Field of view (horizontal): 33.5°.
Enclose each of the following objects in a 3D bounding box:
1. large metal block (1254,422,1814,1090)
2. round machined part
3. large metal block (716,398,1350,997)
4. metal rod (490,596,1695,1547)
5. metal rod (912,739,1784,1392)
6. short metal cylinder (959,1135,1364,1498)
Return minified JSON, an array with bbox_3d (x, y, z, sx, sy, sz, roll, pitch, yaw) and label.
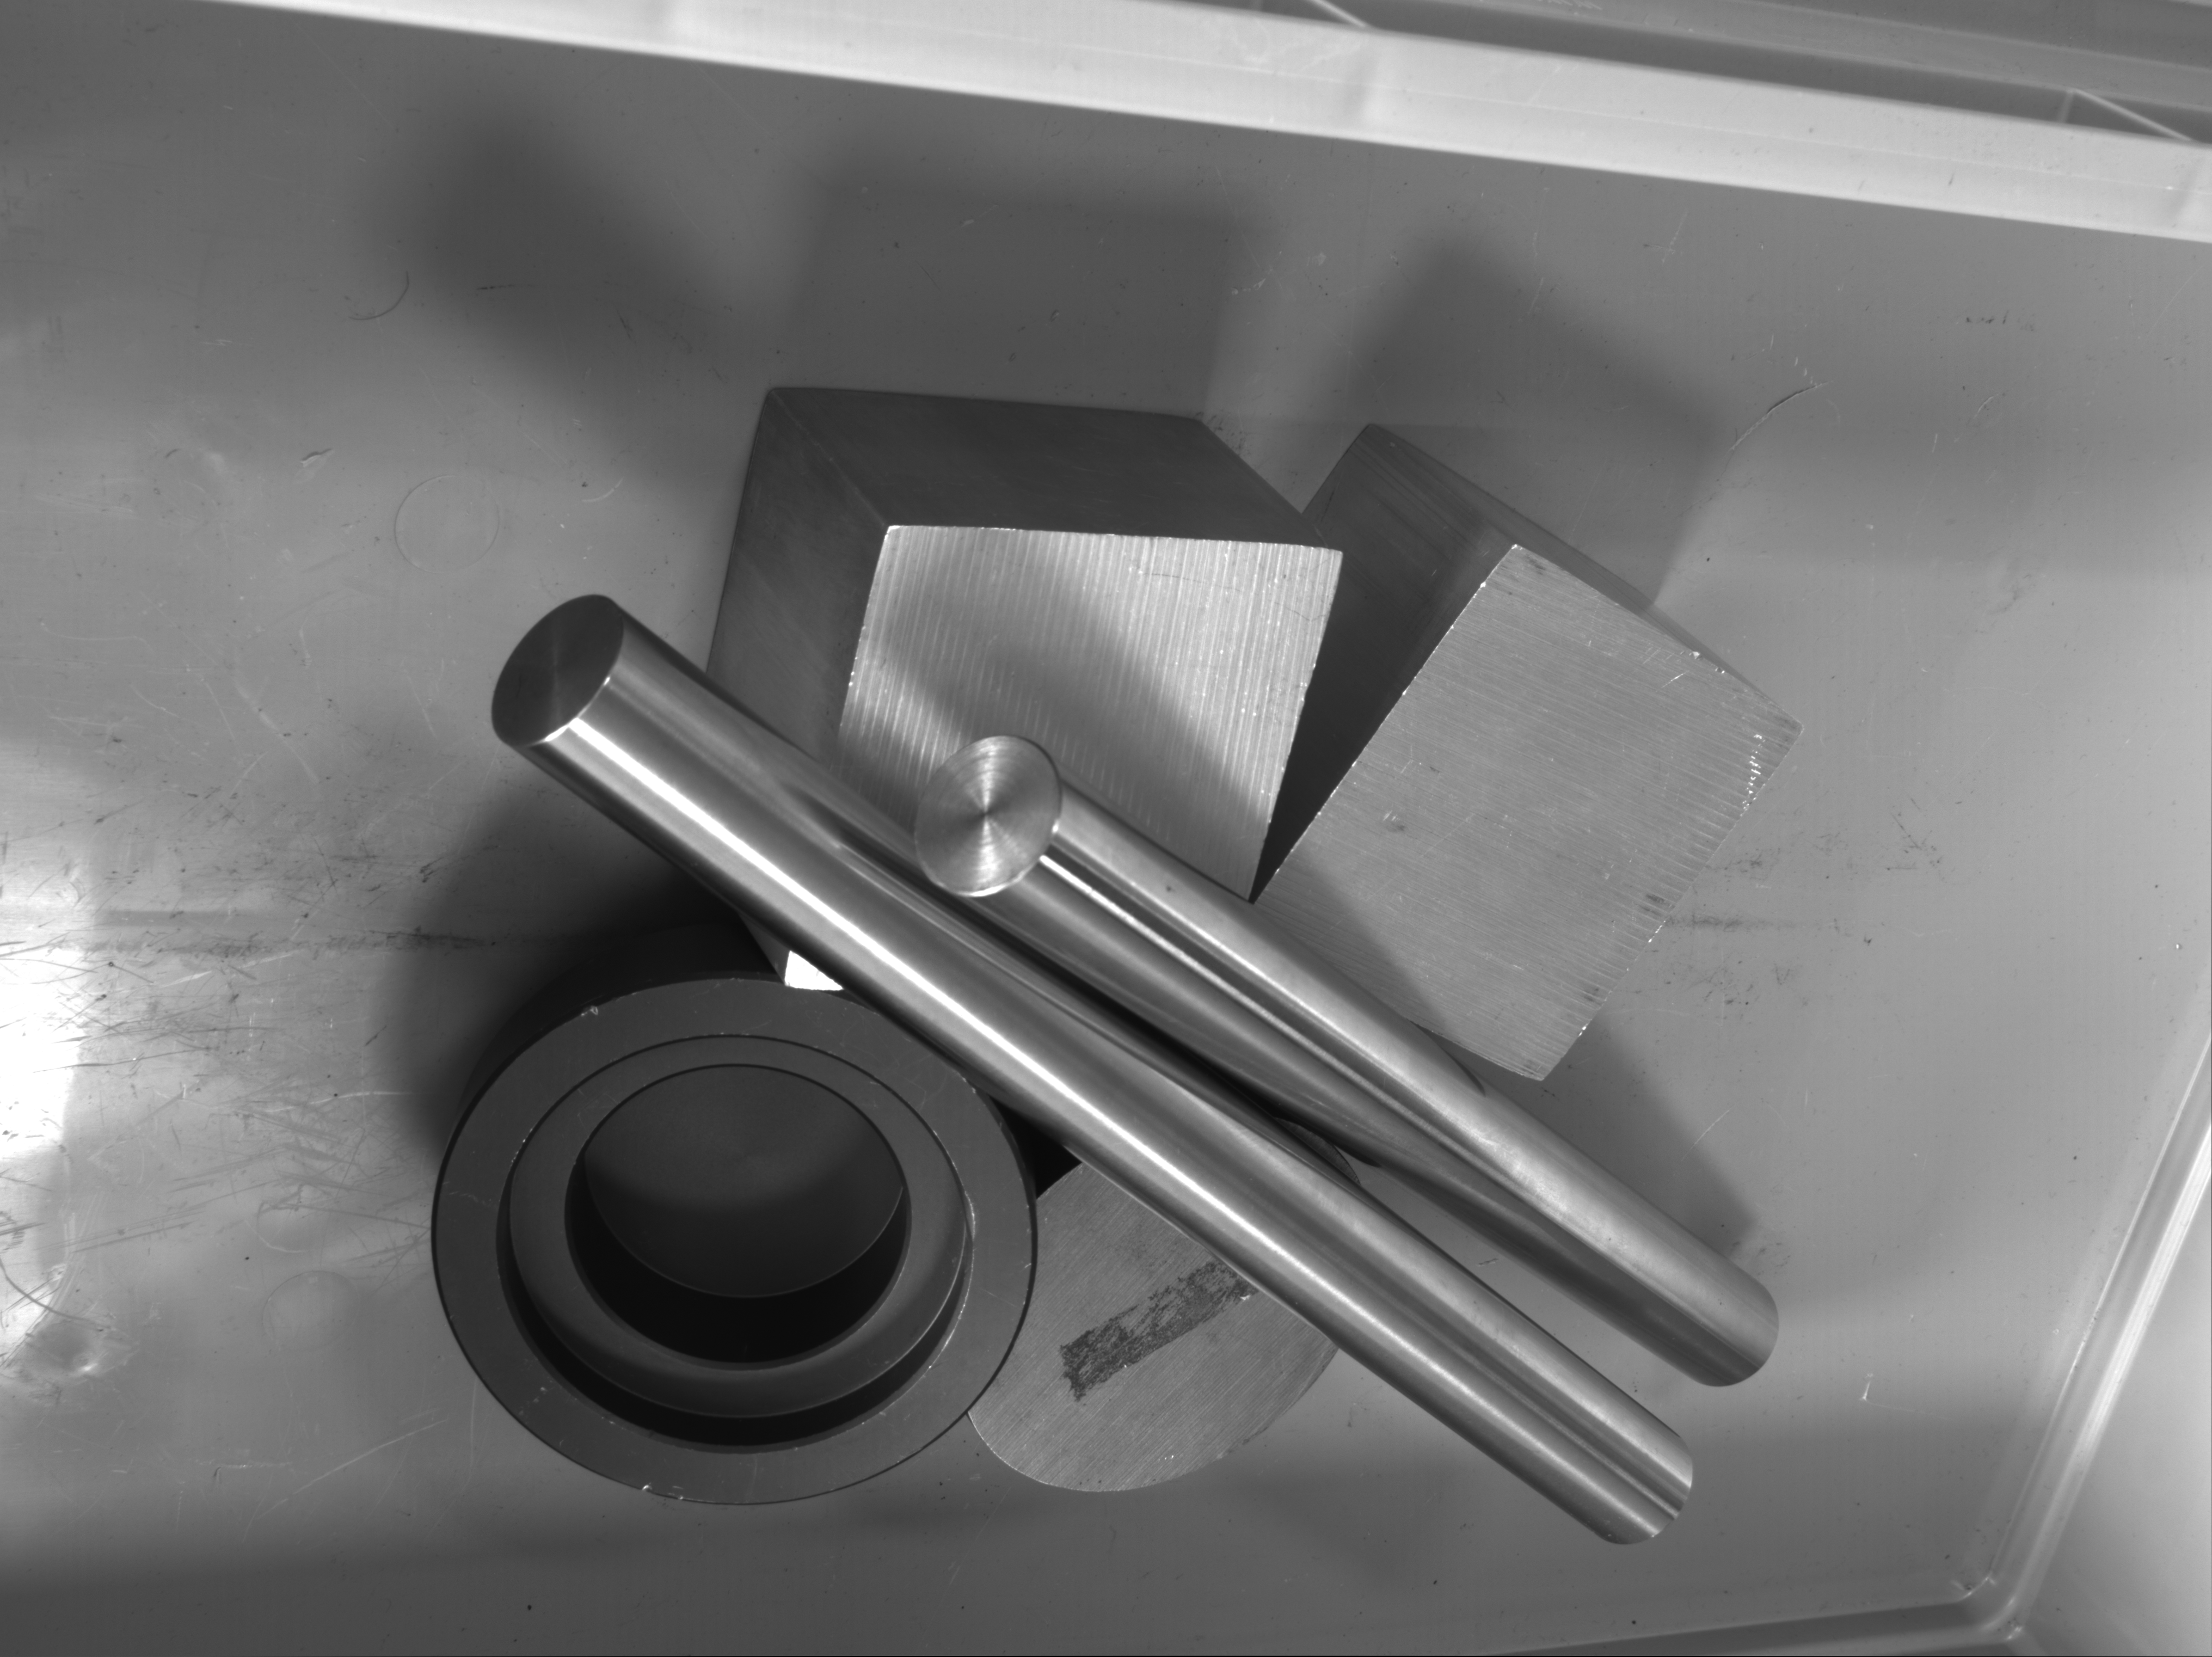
[{"bbox_3d":[0.062,-0.012,0.645,0.080,0.050,0.080,27,103,-37],"label":"large metal block"},{"bbox_3d":[-0.061,0.060,0.615,0.098,0.042,0.098,-1,113,-2],"label":"round machined part"},{"bbox_3d":[-0.016,-0.020,0.595,0.080,0.050,0.080,1,118,-29],"label":"large metal block"},{"bbox_3d":[0.013,0.052,0.609,0.025,0.025,0.301,-47,130,4],"label":"metal rod"},{"bbox_3d":[0.056,0.052,0.650,0.025,0.025,0.301,-47,143,5],"label":"metal rod"},{"bbox_3d":[0.001,0.073,0.664,0.080,0.050,0.080,-13,124,-21],"label":"short metal cylinder"}]
